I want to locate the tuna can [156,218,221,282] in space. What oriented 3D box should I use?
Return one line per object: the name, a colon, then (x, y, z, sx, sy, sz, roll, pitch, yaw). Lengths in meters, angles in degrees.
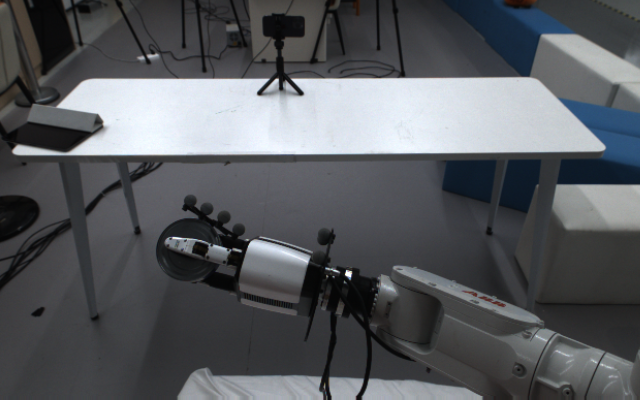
tuna can: (-0.175, 0.070, 0.662, 0.085, 0.034, 0.085, 1, 75, -4)
